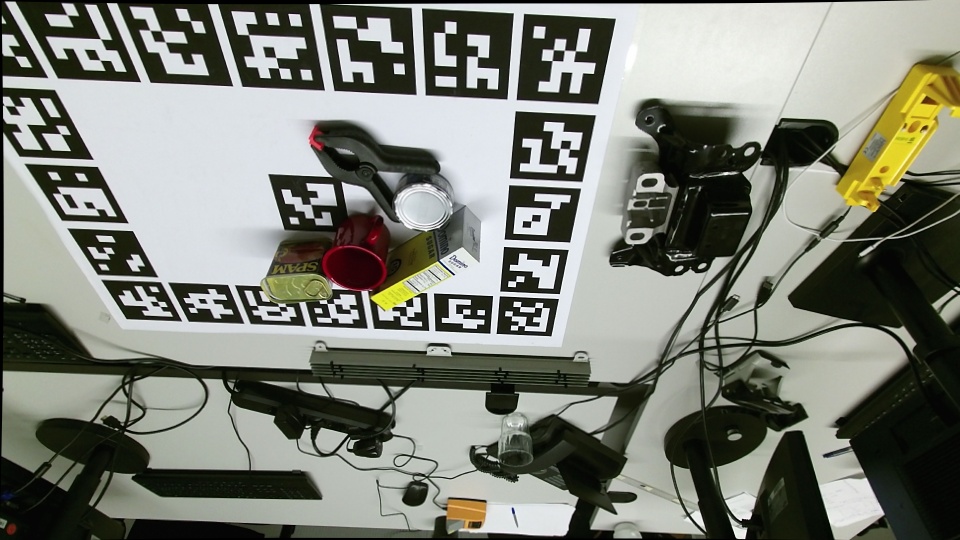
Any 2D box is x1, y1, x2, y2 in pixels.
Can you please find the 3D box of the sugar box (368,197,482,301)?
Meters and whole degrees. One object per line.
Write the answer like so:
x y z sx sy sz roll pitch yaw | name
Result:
-0.080 -0.030 0.783 0.177 0.092 0.045 -27 127 25 | sugar box

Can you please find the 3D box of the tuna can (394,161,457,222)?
-0.074 -0.110 0.743 0.086 0.033 0.086 1 130 1 | tuna can

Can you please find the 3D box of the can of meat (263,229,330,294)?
-0.275 -0.014 0.810 0.102 0.083 0.058 -3 132 7 | can of meat

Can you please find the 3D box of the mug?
-0.173 -0.043 0.771 0.093 0.081 0.117 22 127 -16 | mug

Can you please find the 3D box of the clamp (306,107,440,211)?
-0.150 -0.158 0.710 0.165 0.036 0.122 32 129 -19 | clamp
